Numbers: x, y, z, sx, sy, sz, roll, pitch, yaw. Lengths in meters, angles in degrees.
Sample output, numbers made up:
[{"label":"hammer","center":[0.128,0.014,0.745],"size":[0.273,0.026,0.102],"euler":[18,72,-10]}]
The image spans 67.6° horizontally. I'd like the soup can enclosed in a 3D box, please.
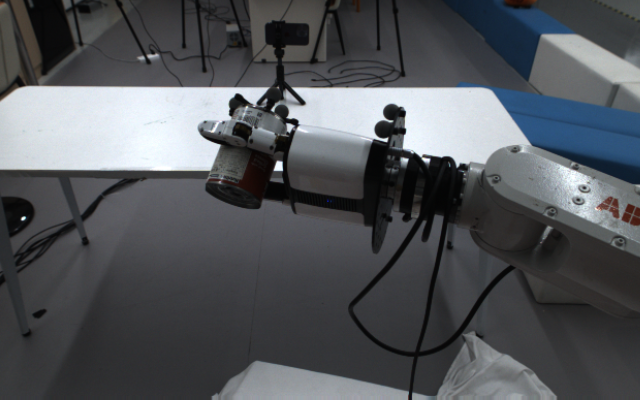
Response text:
[{"label":"soup can","center":[-0.083,-0.050,0.556],"size":[0.067,0.067,0.101],"euler":[12,70,14]}]
